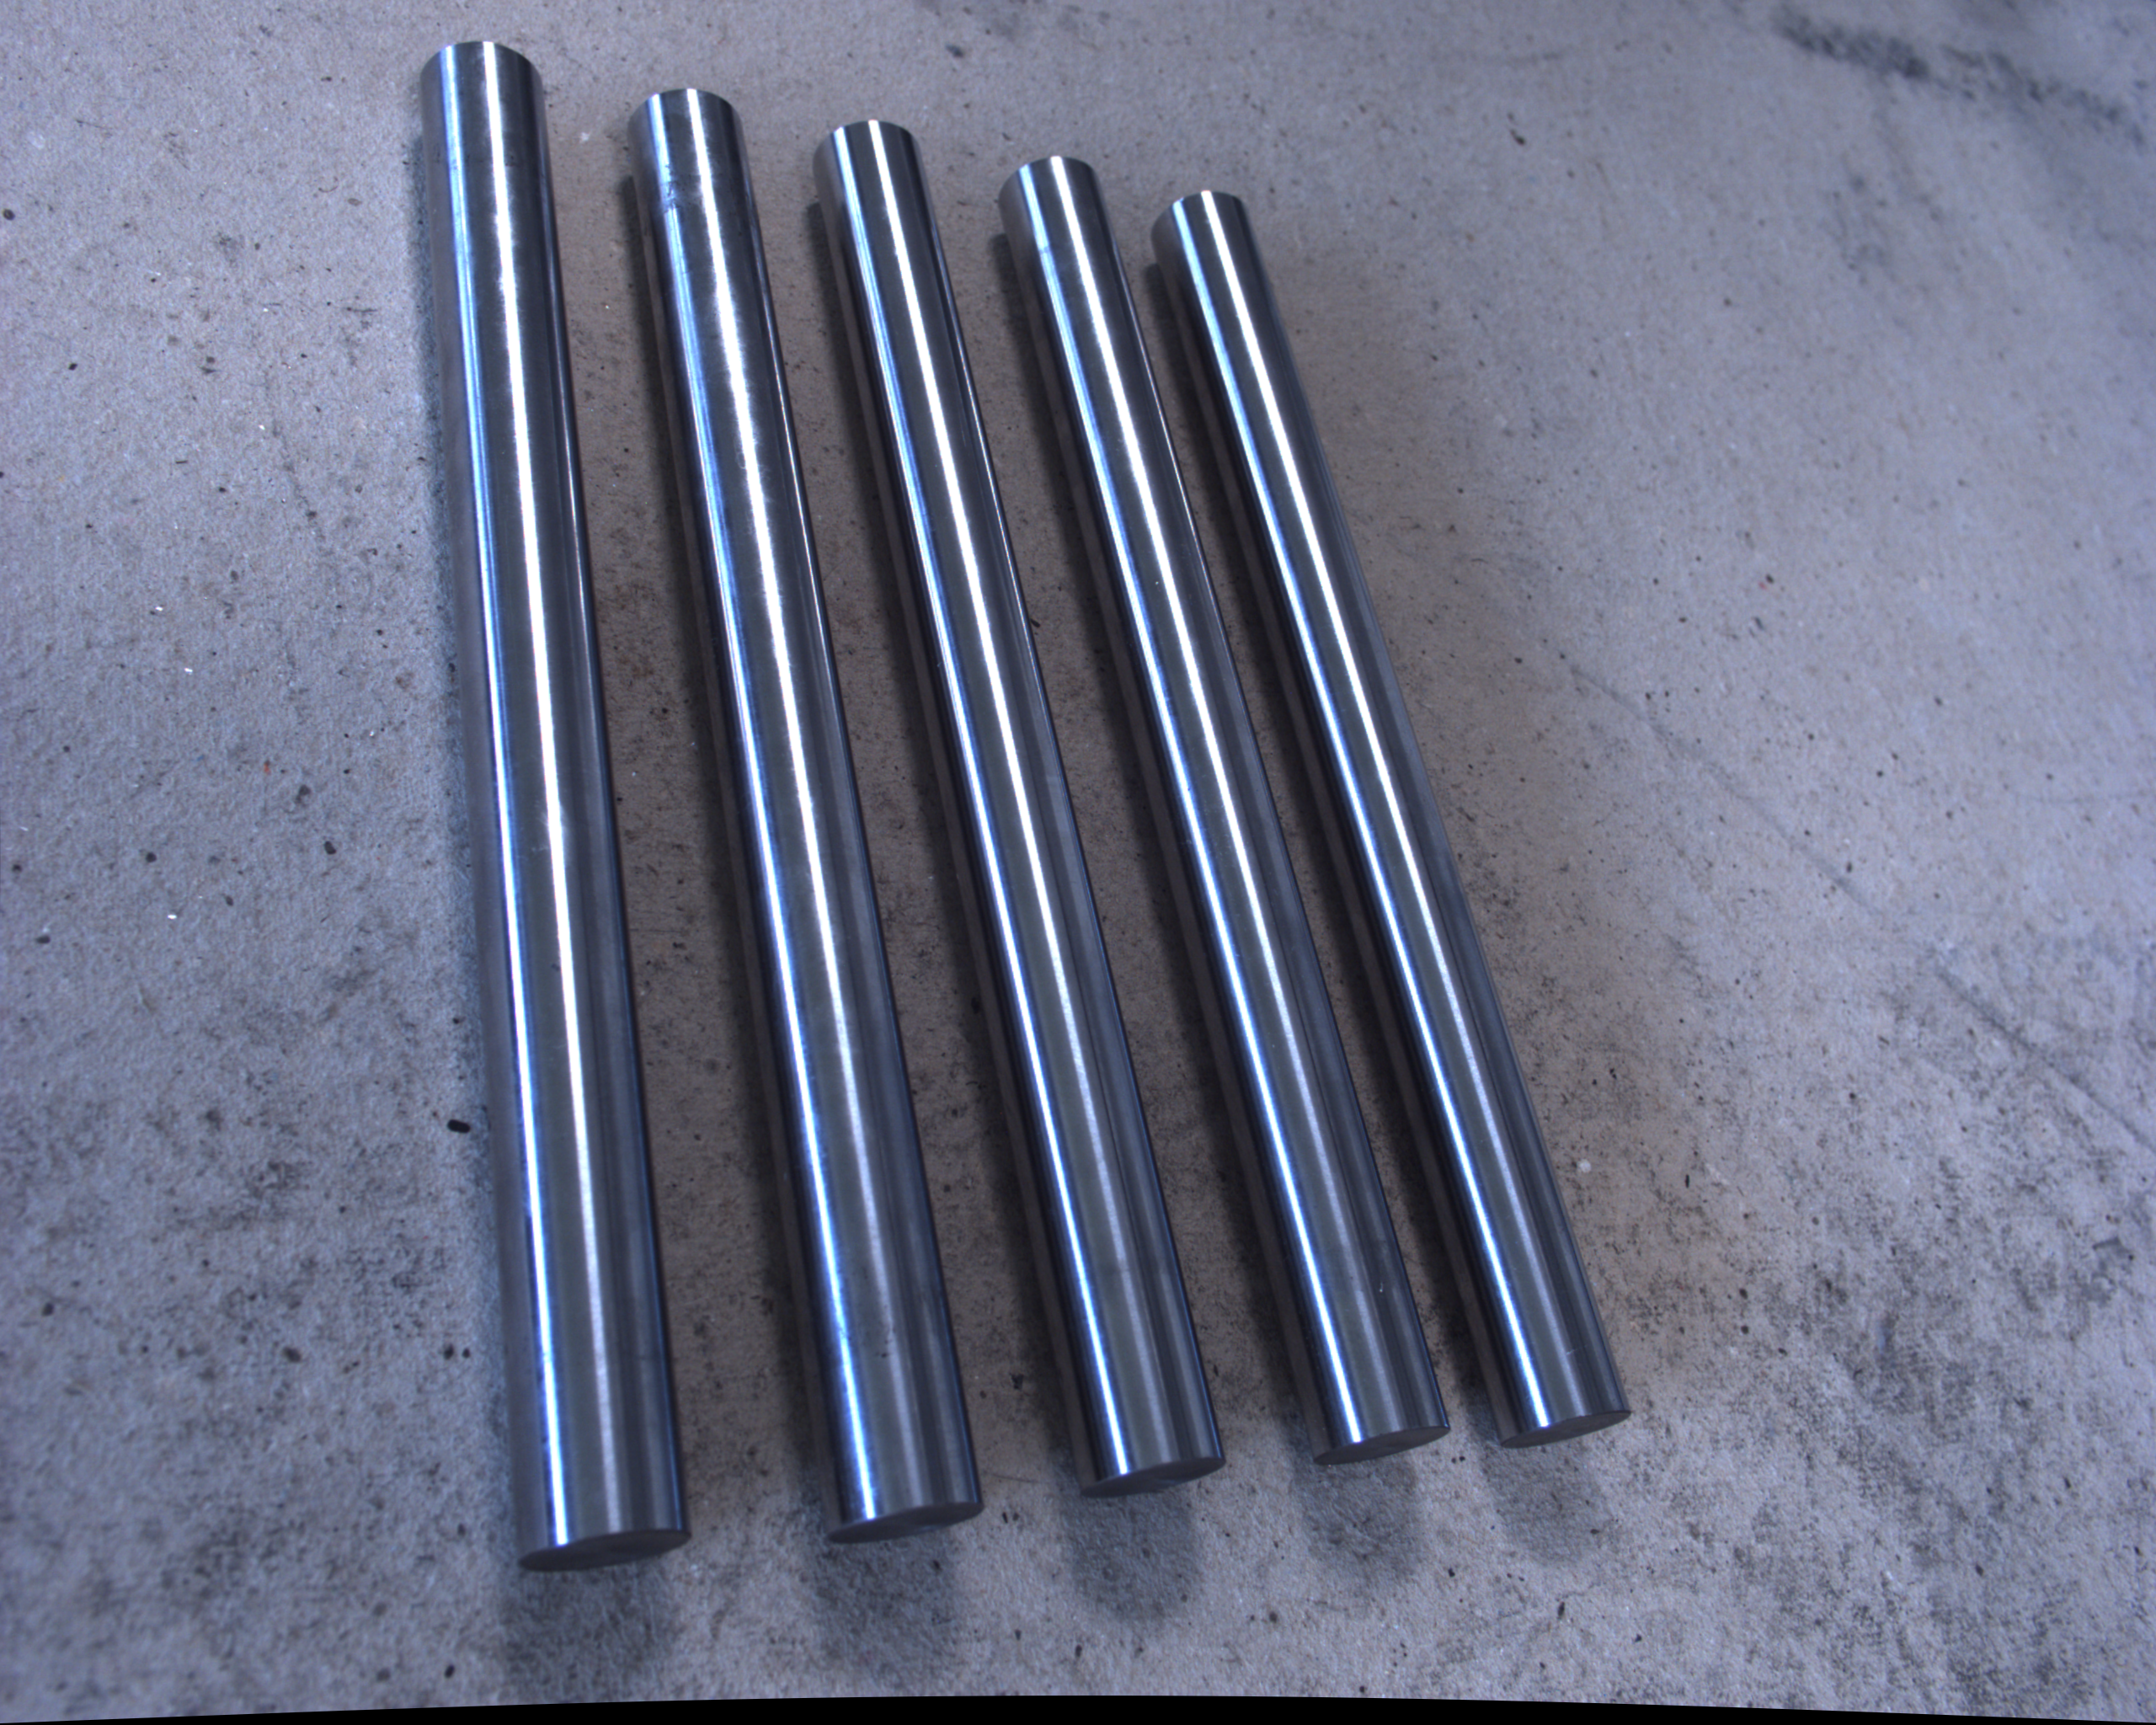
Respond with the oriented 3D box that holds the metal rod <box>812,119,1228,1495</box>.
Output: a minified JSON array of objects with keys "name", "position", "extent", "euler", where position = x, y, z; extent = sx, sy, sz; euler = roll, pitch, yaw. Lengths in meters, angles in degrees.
[{"name":"metal rod","position":[-0.018,-0.029,0.413],"extent":[0.025,0.025,0.299],"euler":[1,61,-28]}]

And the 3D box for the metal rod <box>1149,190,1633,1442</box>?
[{"name":"metal rod","position":[0.060,-0.026,0.453],"extent":[0.025,0.025,0.299],"euler":[1,61,-28]}]

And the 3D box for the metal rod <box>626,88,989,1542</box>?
[{"name":"metal rod","position":[-0.056,-0.028,0.392],"extent":[0.025,0.025,0.299],"euler":[2,61,-28]}]

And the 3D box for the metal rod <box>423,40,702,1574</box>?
[{"name":"metal rod","position":[-0.096,-0.030,0.370],"extent":[0.025,0.025,0.299],"euler":[2,61,-27]}]

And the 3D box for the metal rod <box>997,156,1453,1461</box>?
[{"name":"metal rod","position":[0.024,-0.028,0.435],"extent":[0.025,0.025,0.299],"euler":[1,61,-28]}]
